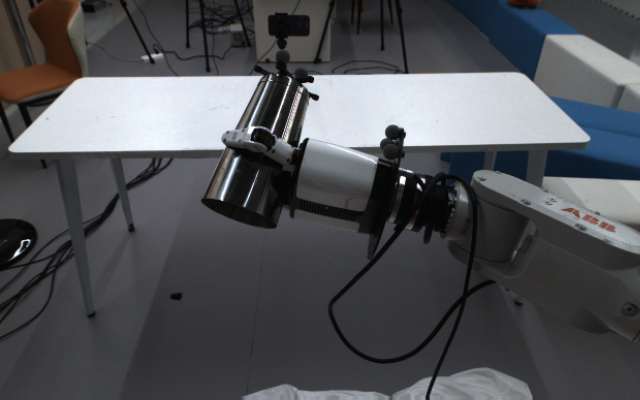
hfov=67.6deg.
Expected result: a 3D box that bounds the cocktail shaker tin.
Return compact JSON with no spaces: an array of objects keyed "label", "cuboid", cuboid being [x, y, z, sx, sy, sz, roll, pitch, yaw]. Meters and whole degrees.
[{"label":"cocktail shaker tin","cuboid":[-0.069,-0.061,0.581,0.093,0.093,0.170,14,74,16]}]
